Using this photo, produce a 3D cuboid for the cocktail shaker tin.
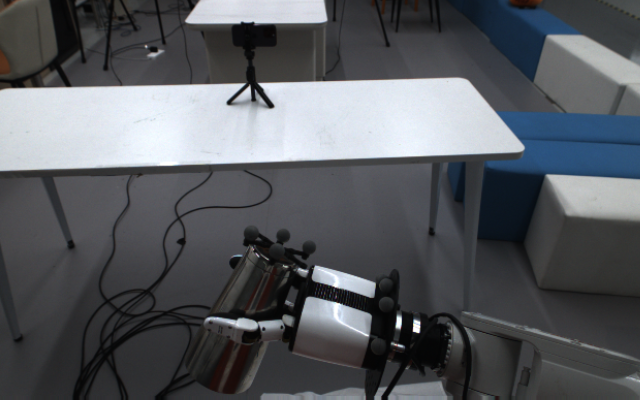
[{"bbox_3d":[-0.089,0.137,0.594,0.093,0.170,0.093,24,13,-6],"label":"cocktail shaker tin"}]
